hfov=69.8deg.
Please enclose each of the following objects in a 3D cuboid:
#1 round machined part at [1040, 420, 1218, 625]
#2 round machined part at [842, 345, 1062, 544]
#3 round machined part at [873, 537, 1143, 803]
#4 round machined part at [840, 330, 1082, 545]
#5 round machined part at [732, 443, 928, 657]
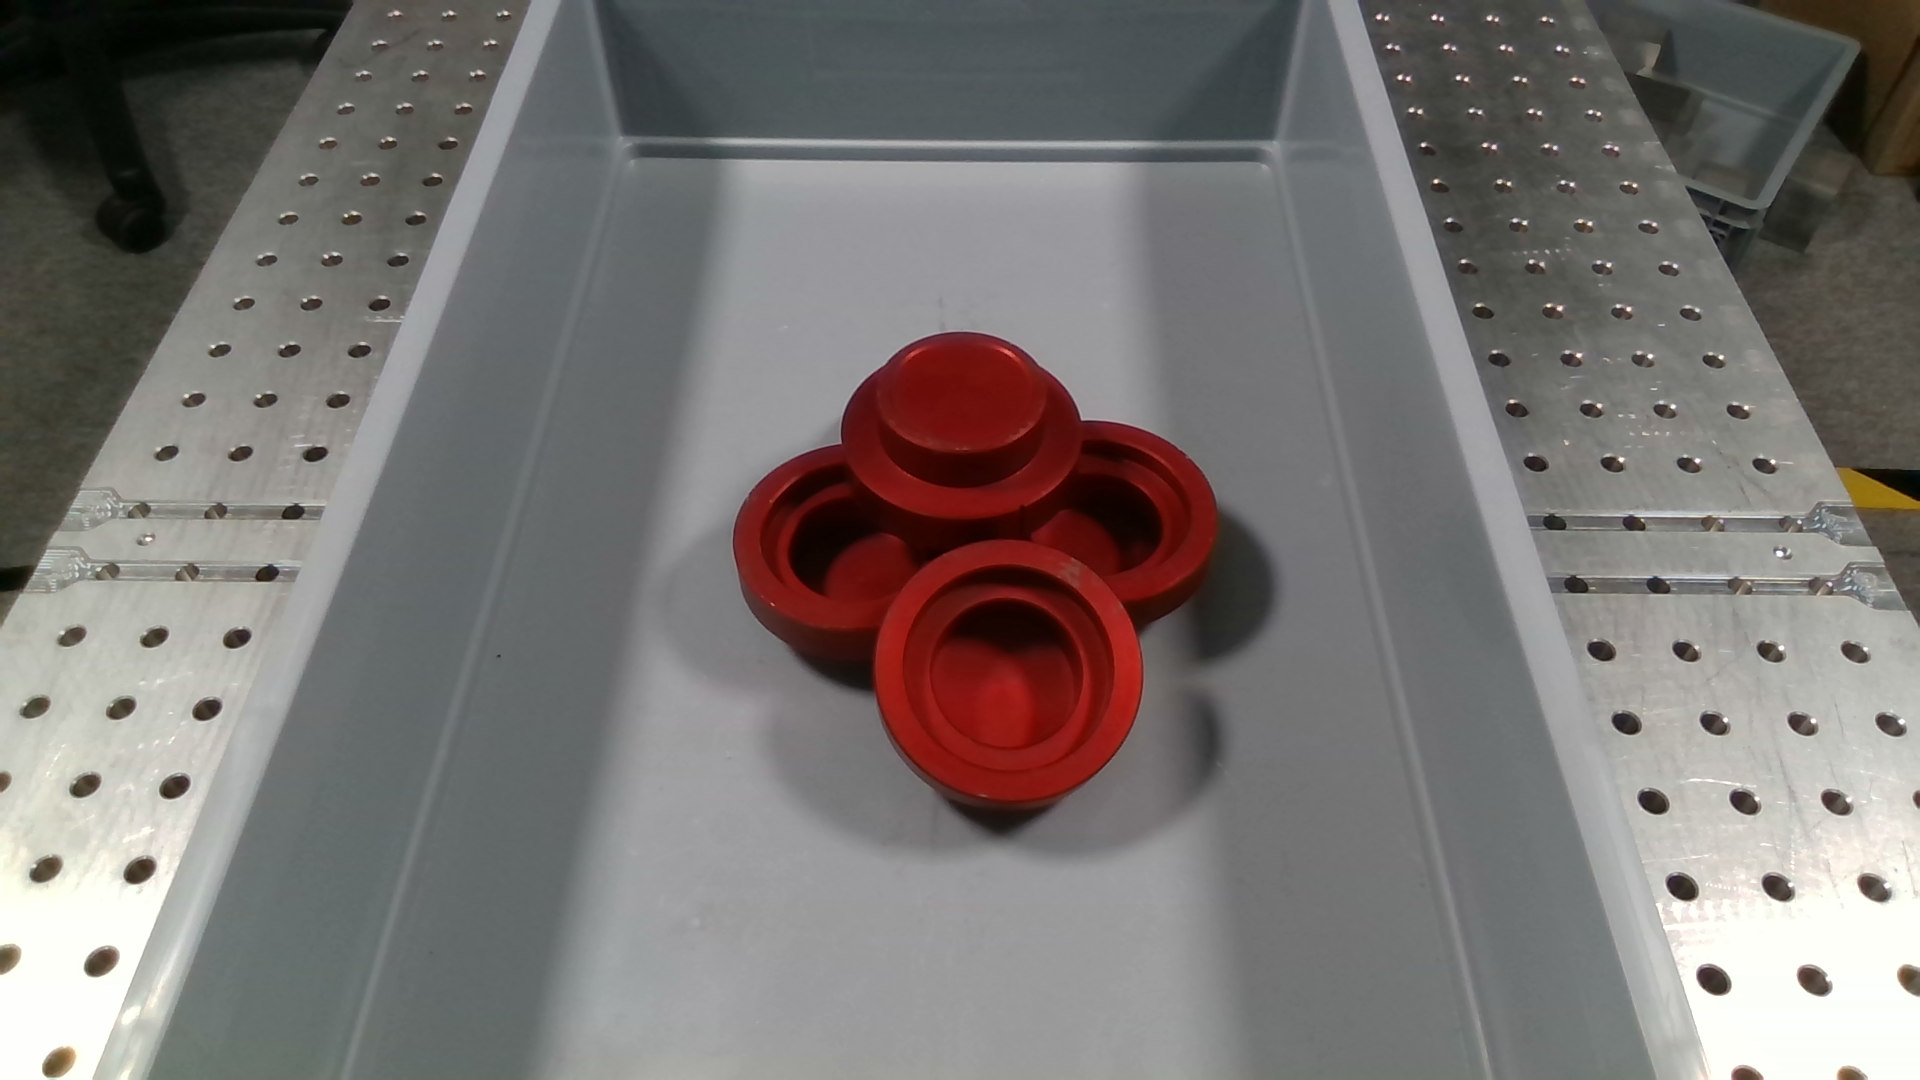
[{"bbox_3d":[0.056,-0.001,0.576,0.098,0.042,0.098,0,50,0],"label":"round machined part"},{"bbox_3d":[-0.003,-0.049,0.613,0.098,0.042,0.098,0,50,0],"label":"round machined part"},{"bbox_3d":[0.017,0.052,0.517,0.098,0.042,0.098,1,70,-3],"label":"round machined part"},{"bbox_3d":[0.000,-0.047,0.557,0.098,0.042,0.098,0,50,0],"label":"round machined part"},{"bbox_3d":[-0.042,0.009,0.567,0.098,0.042,0.098,0,50,0],"label":"round machined part"}]
